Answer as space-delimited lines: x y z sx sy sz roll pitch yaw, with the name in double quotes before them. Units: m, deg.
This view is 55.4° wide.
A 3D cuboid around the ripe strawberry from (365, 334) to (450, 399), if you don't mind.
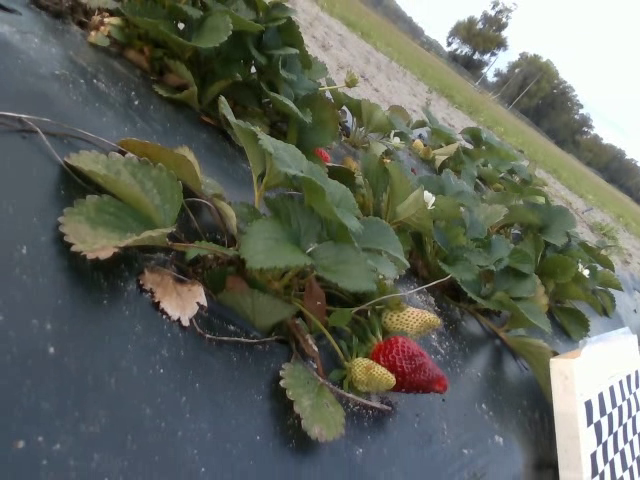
"ripe strawberry" 0.060 0.087 0.388 0.059 0.046 0.046 19 15 36
